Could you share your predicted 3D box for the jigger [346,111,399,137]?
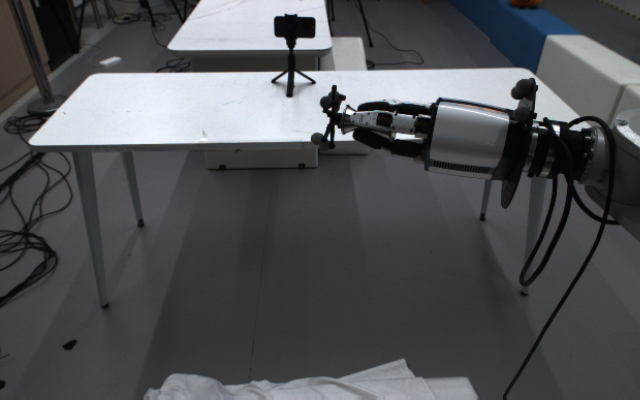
[{"bbox_3d":[0.071,-0.105,0.640,0.071,0.043,0.043,10,35,16],"label":"jigger"}]
